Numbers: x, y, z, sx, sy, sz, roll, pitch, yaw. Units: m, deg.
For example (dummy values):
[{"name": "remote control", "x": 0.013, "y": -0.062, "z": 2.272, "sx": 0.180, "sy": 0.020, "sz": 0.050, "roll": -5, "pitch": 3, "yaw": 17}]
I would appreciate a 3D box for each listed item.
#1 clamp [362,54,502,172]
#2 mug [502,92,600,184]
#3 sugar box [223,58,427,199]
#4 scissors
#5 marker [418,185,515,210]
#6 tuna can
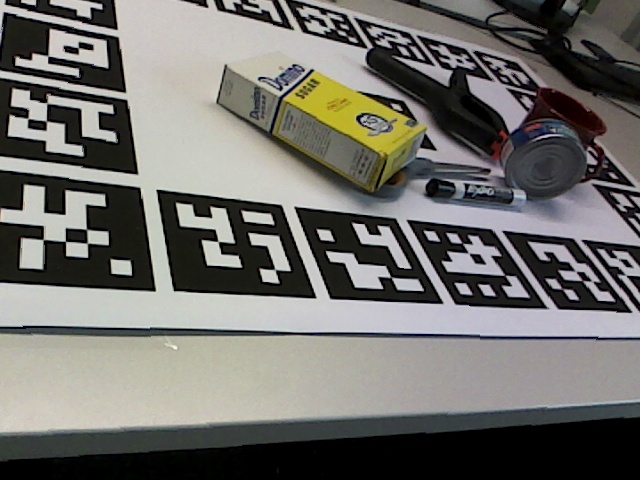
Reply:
[{"name": "clamp", "x": 0.162, "y": -0.163, "z": 0.782, "sx": 0.164, "sy": 0.037, "sz": 0.204, "roll": -3, "pitch": 48, "yaw": -35}, {"name": "mug", "x": 0.278, "y": -0.113, "z": 0.745, "sx": 0.118, "sy": 0.081, "sz": 0.093, "roll": 43, "pitch": 39, "yaw": 24}, {"name": "sugar box", "x": 0.004, "y": -0.113, "z": 0.593, "sx": 0.177, "sy": 0.045, "sz": 0.092, "roll": 34, "pitch": 37, "yaw": 18}, {"name": "scissors", "x": 0.099, "y": -0.078, "z": 0.636, "sx": 0.201, "sy": 0.016, "sz": 0.088, "roll": -3, "pitch": 43, "yaw": -36}, {"name": "marker", "x": 0.150, "y": -0.043, "z": 0.632, "sx": 0.120, "sy": 0.019, "sz": 0.020, "roll": 2, "pitch": 45, "yaw": -29}, {"name": "tuna can", "x": 0.242, "y": -0.083, "z": 0.680, "sx": 0.085, "sy": 0.086, "sz": 0.034, "roll": 17, "pitch": 38, "yaw": -14}]
